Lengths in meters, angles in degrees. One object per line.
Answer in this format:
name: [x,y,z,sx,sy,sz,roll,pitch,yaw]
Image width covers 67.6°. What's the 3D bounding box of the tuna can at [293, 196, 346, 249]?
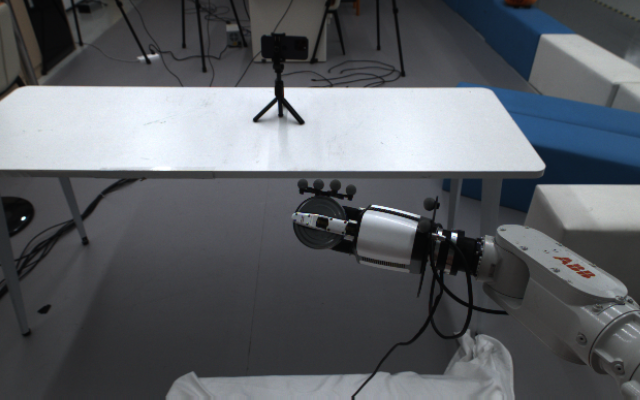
tuna can: [0.002,0.035,0.770,0.085,0.085,0.034,11,-7,13]
